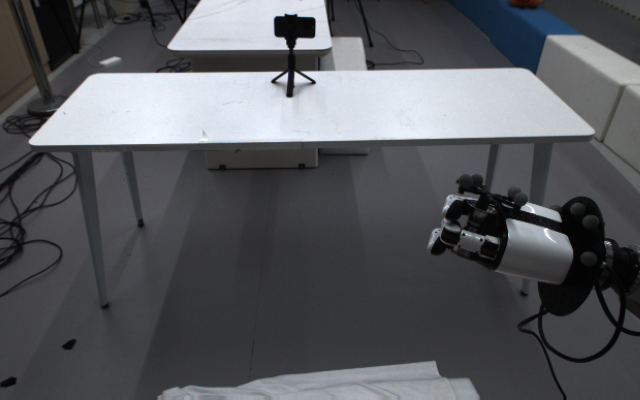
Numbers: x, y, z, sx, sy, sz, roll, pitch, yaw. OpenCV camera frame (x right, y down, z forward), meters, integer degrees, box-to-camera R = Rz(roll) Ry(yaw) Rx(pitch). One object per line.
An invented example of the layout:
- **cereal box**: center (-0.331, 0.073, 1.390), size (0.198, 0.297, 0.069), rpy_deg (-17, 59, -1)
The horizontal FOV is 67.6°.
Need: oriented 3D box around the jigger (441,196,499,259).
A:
- **jigger**: center (0.202, 0.038, 0.638), size (0.043, 0.071, 0.043), rpy_deg (15, 17, -5)
